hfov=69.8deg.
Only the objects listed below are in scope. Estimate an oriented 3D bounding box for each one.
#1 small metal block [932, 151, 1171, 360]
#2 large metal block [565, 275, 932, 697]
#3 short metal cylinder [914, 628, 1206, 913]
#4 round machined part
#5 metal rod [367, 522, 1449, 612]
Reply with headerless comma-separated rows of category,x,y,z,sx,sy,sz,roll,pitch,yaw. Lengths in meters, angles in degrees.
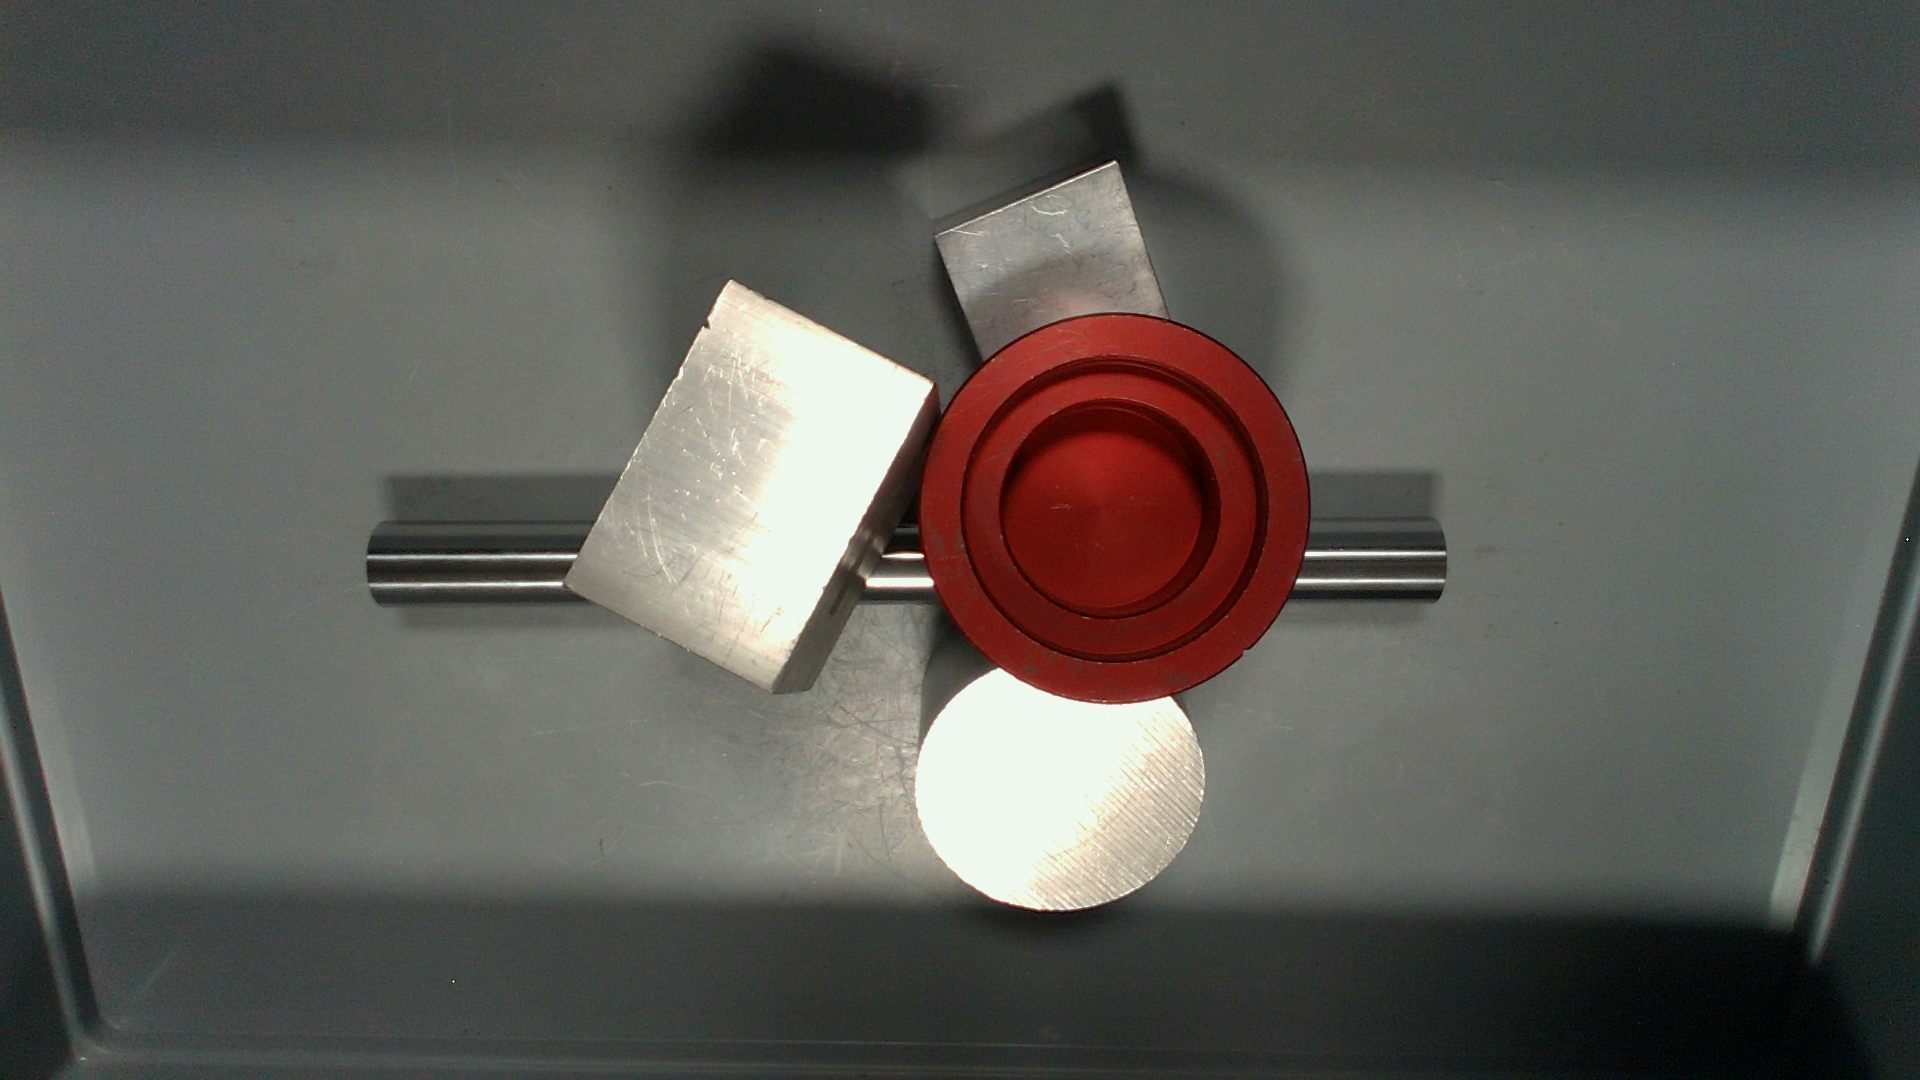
small metal block,0.025,-0.070,0.368,0.050,0.025,0.050,-20,109,7
large metal block,-0.046,-0.009,0.344,0.050,0.080,0.080,27,86,2
short metal cylinder,0.027,0.060,0.401,0.080,0.050,0.080,0,110,0
round machined part,0.039,-0.008,0.361,0.098,0.042,0.098,0,93,0
metal rod,-0.014,0.008,0.394,0.300,0.025,0.025,0,110,0
